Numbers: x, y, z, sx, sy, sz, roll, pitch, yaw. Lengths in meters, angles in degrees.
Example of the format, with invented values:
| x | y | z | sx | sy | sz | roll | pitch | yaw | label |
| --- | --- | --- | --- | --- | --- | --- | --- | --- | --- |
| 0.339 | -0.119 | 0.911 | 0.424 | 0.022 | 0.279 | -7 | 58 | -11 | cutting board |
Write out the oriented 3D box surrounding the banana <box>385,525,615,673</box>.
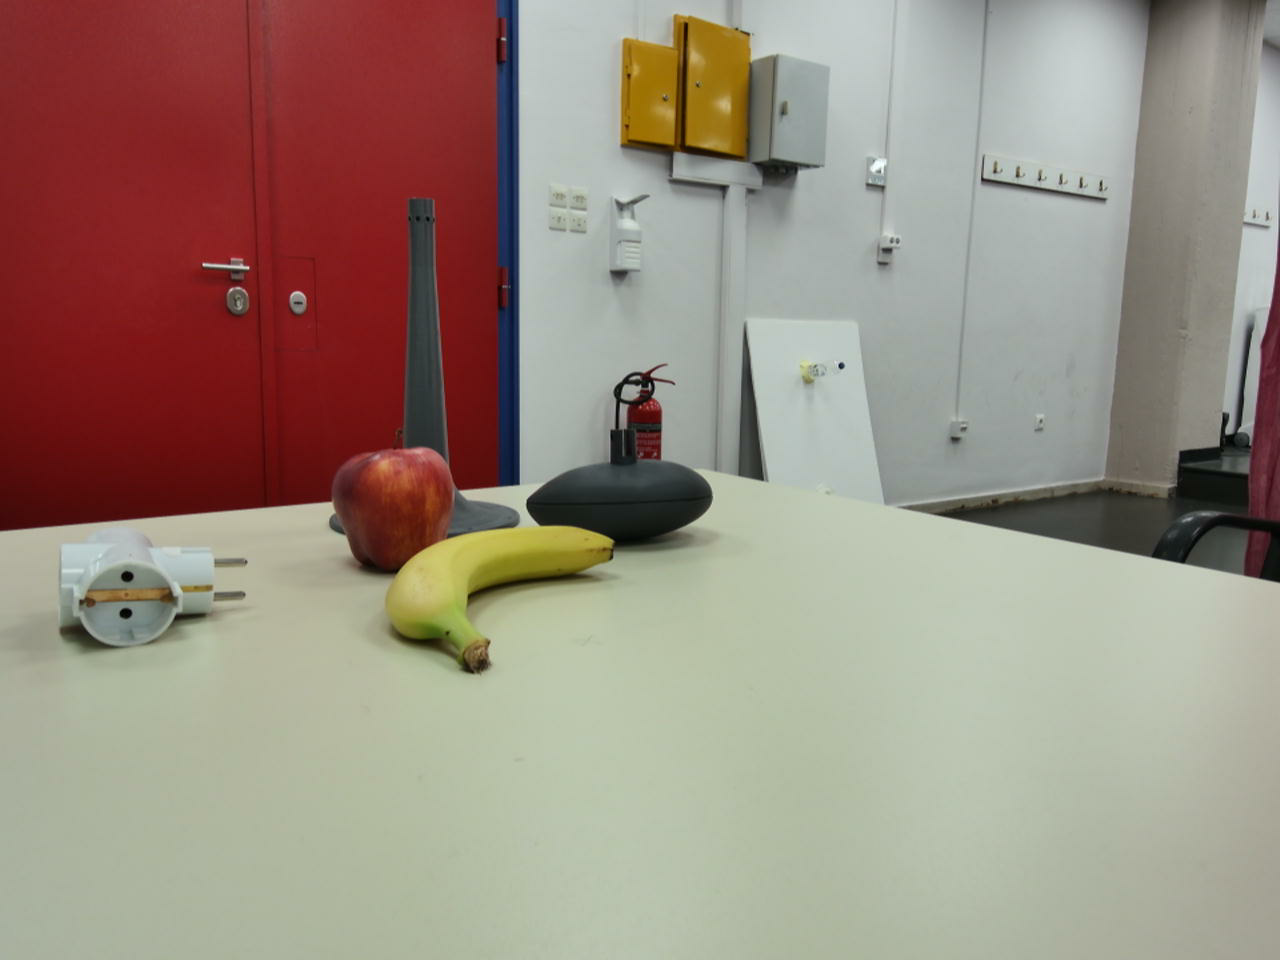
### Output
| x | y | z | sx | sy | sz | roll | pitch | yaw | label |
| --- | --- | --- | --- | --- | --- | --- | --- | --- | --- |
| -0.087 | 0.056 | 0.565 | 0.094 | 0.041 | 0.196 | 3 | 7 | 18 | banana |
